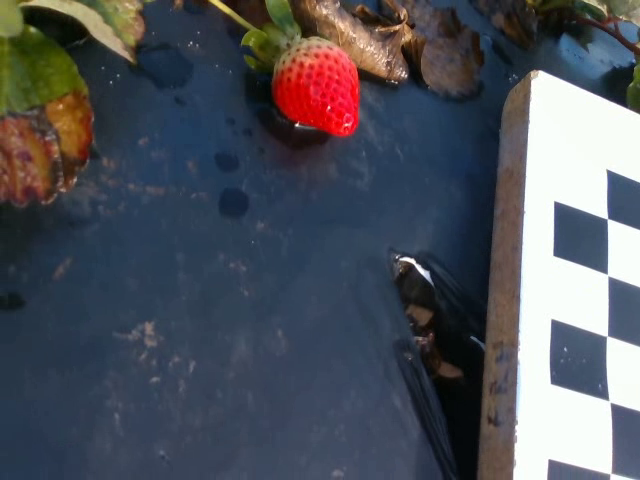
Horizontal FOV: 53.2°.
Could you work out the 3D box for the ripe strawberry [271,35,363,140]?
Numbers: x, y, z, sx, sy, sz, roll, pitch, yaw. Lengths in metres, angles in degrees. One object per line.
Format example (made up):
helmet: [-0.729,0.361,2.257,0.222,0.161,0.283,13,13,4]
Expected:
ripe strawberry: [0.000,-0.053,0.221,0.035,0.043,0.030,-18,-17,-28]
